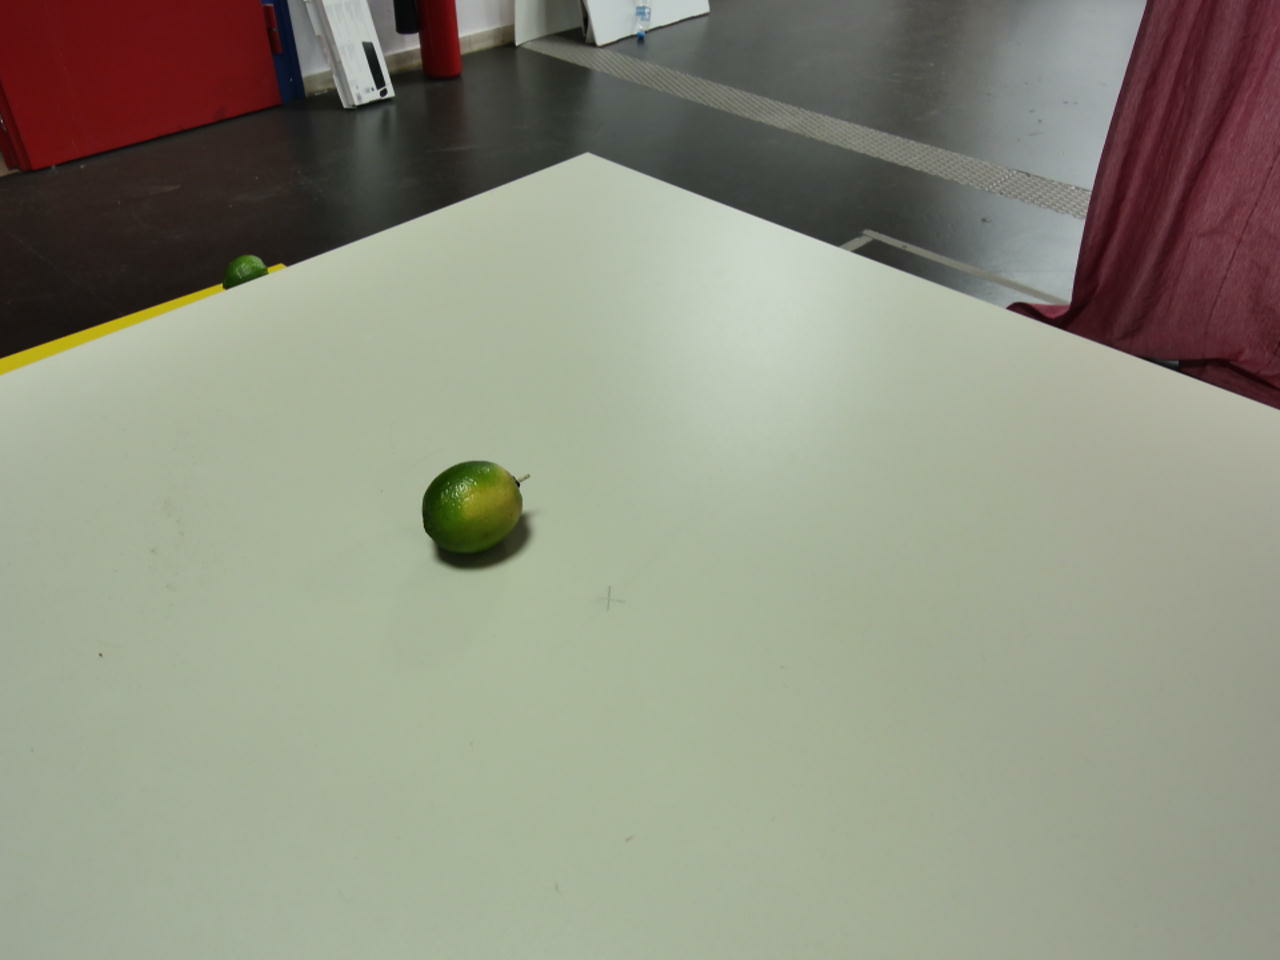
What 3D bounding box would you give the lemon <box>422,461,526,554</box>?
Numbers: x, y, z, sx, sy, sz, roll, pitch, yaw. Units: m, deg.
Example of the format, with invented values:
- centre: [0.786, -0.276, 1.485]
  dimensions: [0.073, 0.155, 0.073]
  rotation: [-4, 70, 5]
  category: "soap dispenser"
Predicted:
- centre: [-0.094, 0.015, 0.561]
  dimensions: [0.055, 0.050, 0.054]
  rotation: [2, 38, 1]
  category: "lemon"
